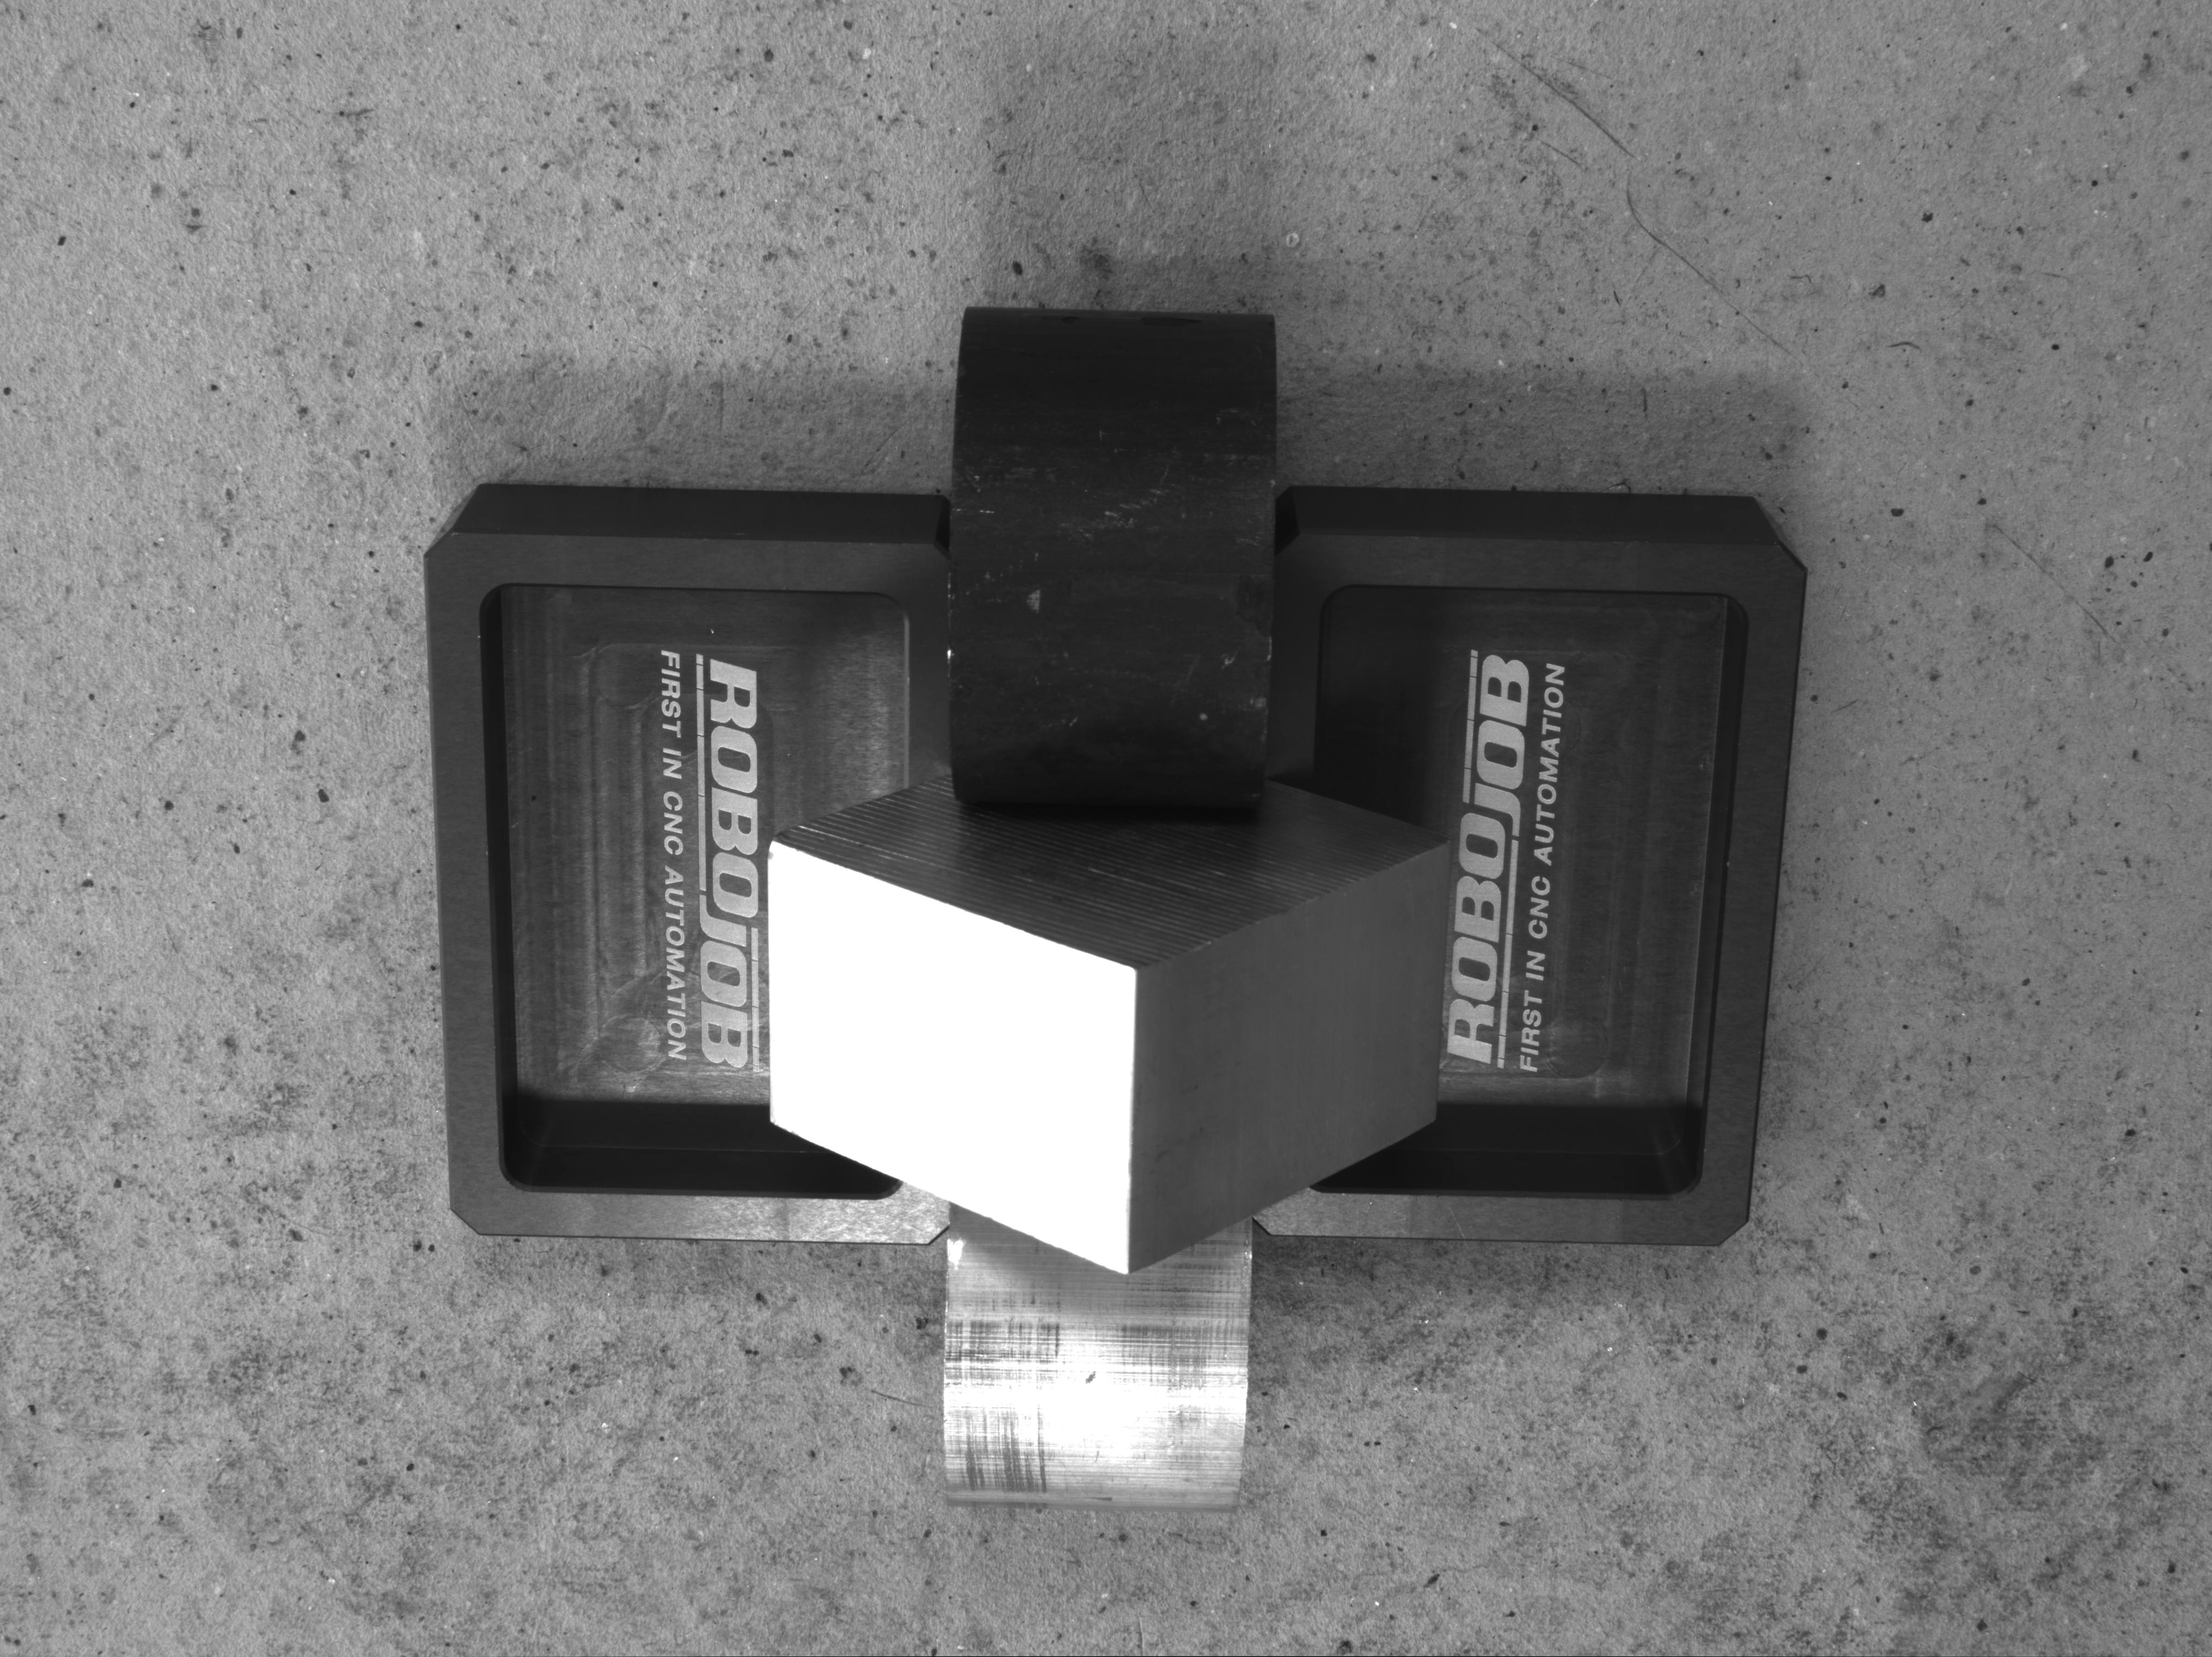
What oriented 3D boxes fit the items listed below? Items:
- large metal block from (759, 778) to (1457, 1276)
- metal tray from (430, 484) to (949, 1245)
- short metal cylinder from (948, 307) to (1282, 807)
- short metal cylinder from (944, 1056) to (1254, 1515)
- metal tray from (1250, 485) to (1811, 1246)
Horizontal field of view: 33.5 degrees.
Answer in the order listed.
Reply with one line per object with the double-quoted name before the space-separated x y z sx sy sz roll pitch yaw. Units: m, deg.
"large metal block" 0.000 0.025 0.602 0.080 0.080 0.050 18 116 37
"metal tray" -0.069 0.007 0.645 0.090 0.030 0.130 1 110 -1
"short metal cylinder" 0.001 -0.044 0.599 0.050 0.080 0.080 2 110 -1
"short metal cylinder" -0.001 0.079 0.644 0.050 0.080 0.080 2 110 -1
"metal tray" 0.071 0.007 0.645 0.090 0.030 0.130 1 110 -1
